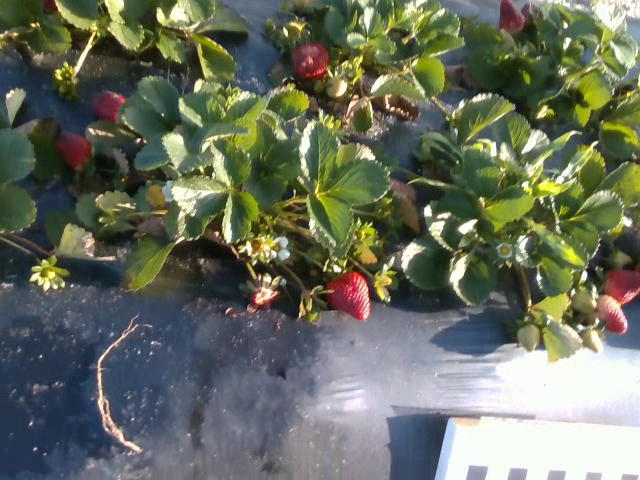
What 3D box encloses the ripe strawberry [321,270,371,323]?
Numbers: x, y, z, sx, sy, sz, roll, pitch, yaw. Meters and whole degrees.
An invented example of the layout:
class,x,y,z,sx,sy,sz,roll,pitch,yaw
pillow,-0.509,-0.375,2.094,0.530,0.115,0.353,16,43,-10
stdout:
class,x,y,z,sx,sy,sz,roll,pitch,yaw
ripe strawberry,0.032,0.060,0.649,0.052,0.041,0.052,-22,46,-10
